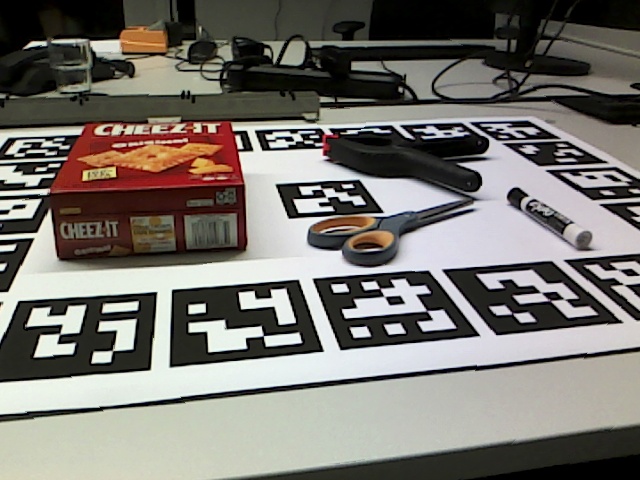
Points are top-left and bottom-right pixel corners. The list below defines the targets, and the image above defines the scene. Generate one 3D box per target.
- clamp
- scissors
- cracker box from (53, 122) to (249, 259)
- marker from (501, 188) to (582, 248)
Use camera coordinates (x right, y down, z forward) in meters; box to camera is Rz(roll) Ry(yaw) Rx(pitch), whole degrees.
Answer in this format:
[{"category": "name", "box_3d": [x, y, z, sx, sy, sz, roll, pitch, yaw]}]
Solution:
[{"category": "clamp", "box_3d": [0.091, -0.098, 0.787, 0.203, 0.036, 0.165, 10, 26, 16]}, {"category": "scissors", "box_3d": [0.081, -0.018, 0.609, 0.201, 0.016, 0.088, -17, 30, -38]}, {"category": "cracker box", "box_3d": [-0.162, -0.060, 0.627, 0.164, 0.072, 0.214, -3, 26, -10]}, {"category": "marker", "box_3d": [0.222, -0.025, 0.631, 0.019, 0.019, 0.122, -6, 26, -14]}]
